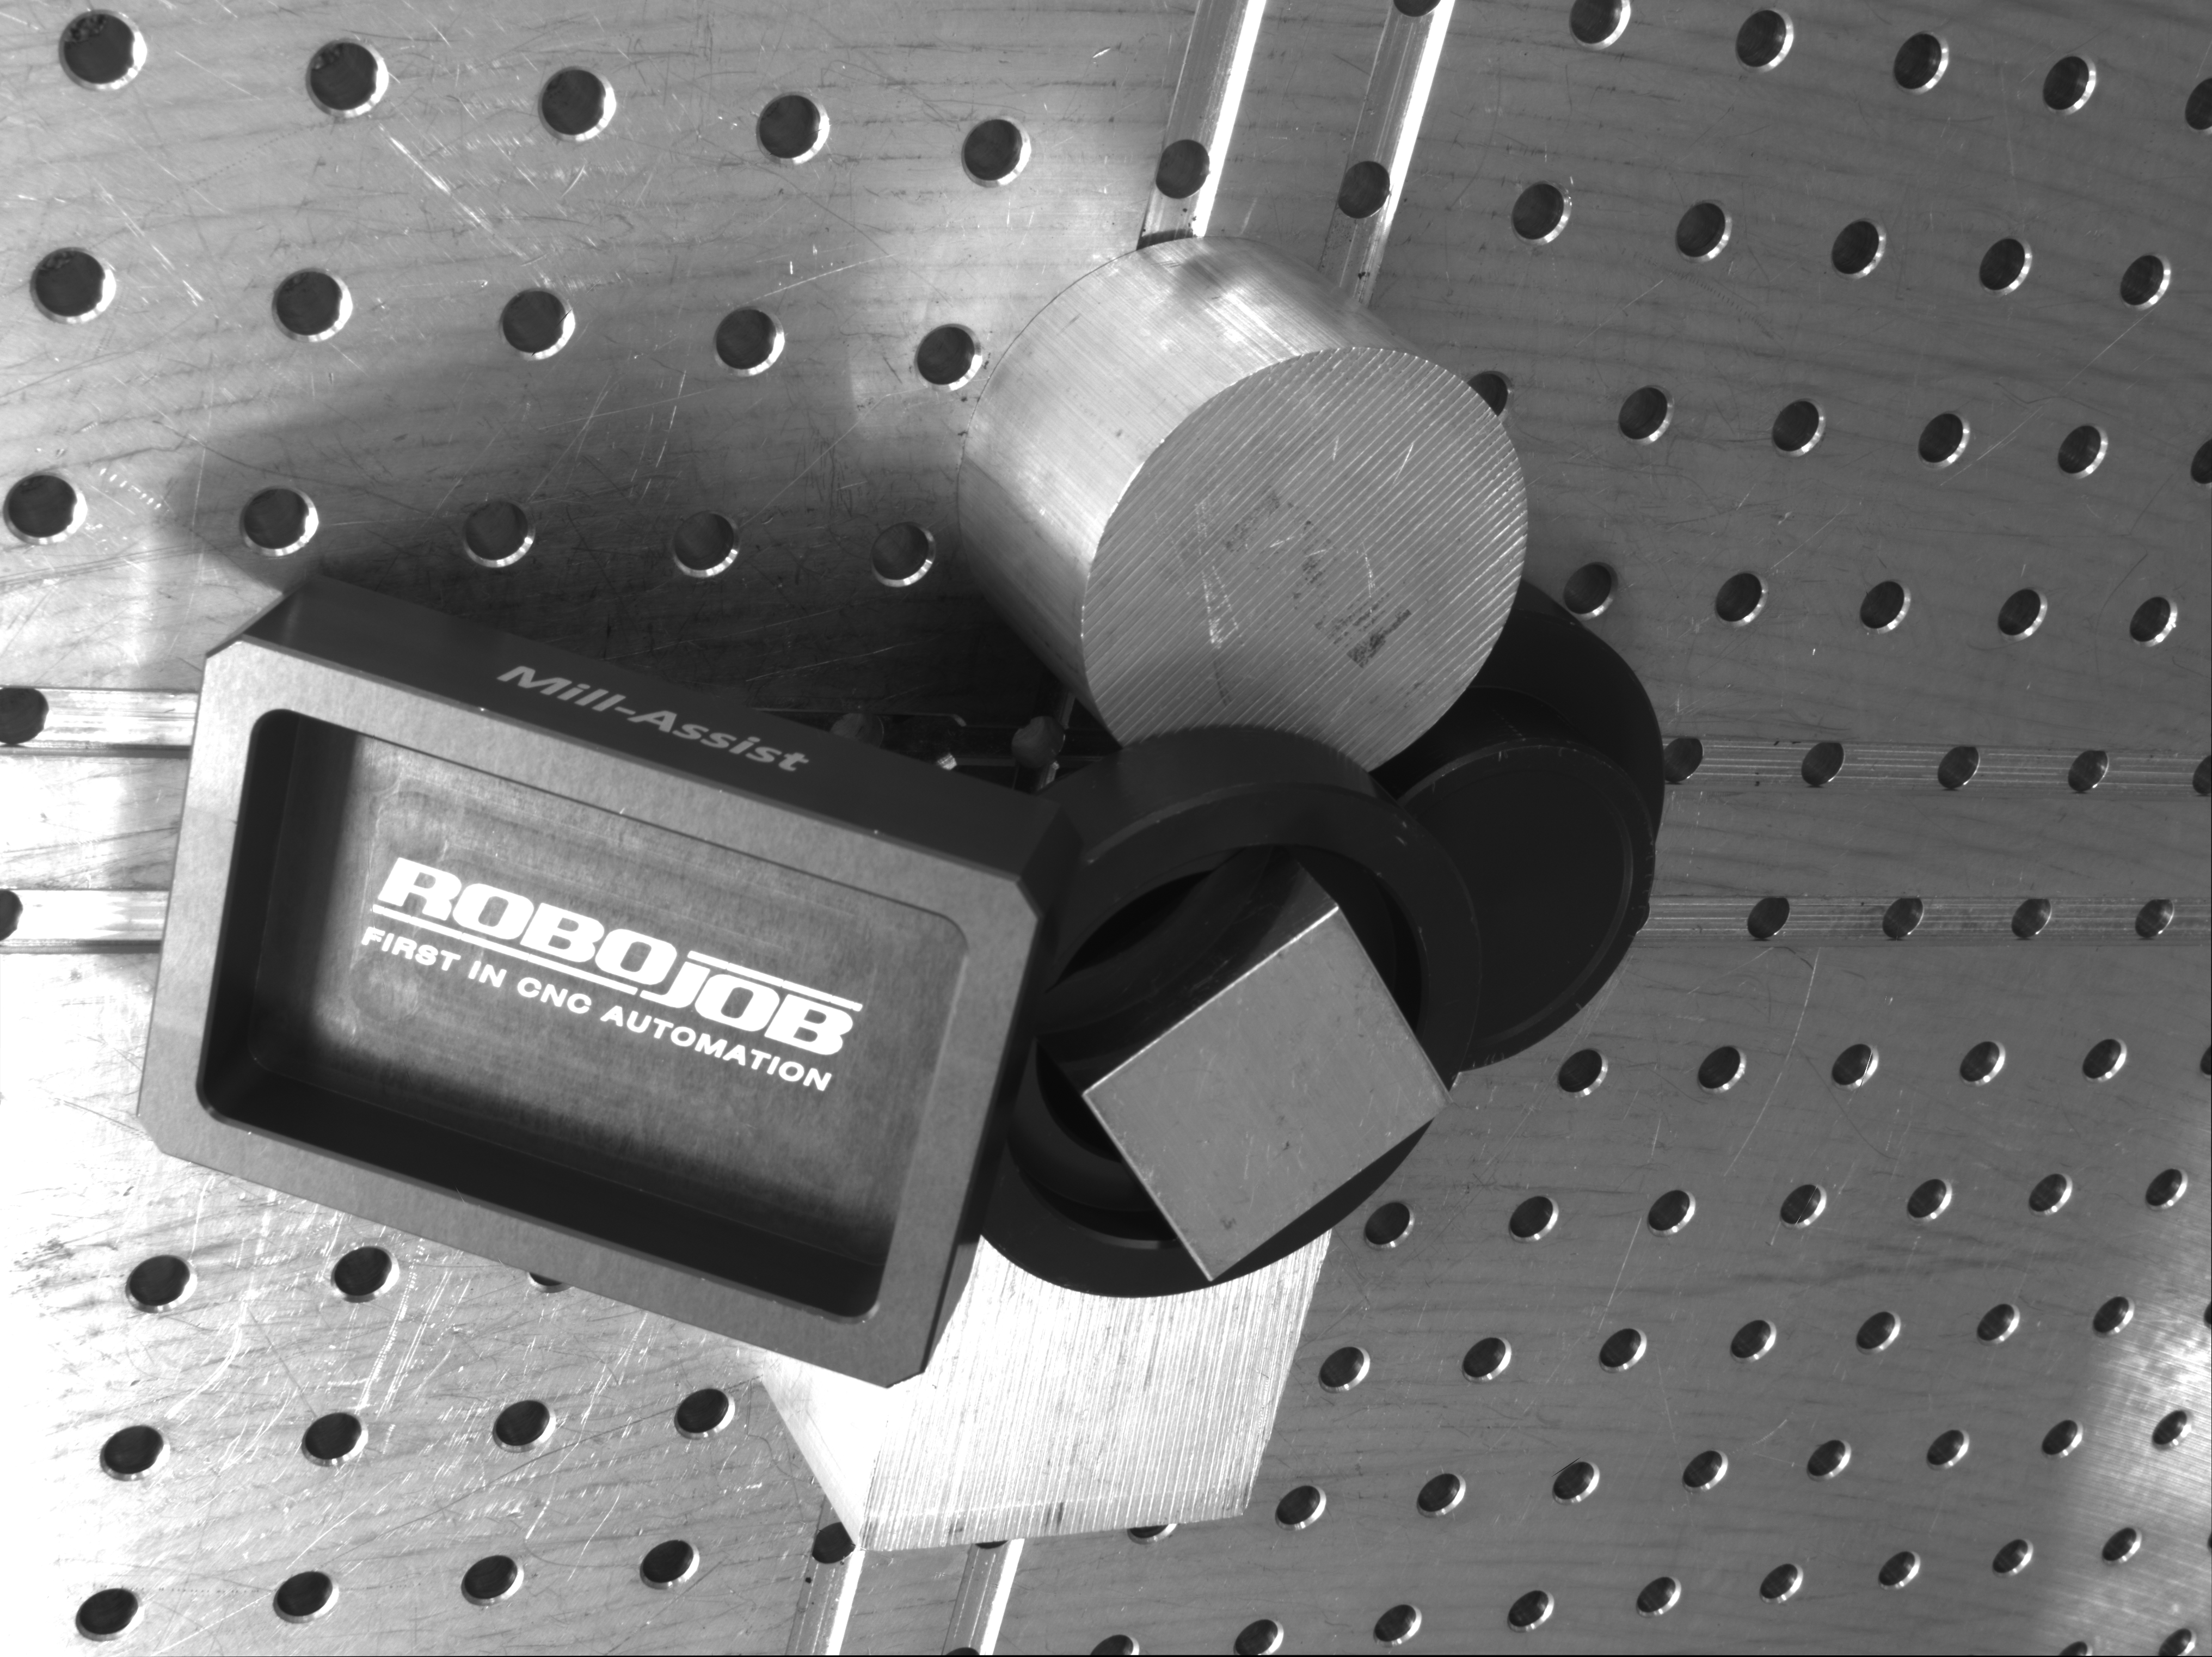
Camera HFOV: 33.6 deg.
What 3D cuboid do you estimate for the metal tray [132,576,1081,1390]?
[{"bbox_3d":[-0.078,0.024,0.563,0.130,0.030,0.090,17,114,5],"label":"metal tray"}]

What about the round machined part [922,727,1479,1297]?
[{"bbox_3d":[0.010,0.026,0.613,0.098,0.042,0.098,-14,124,-21],"label":"round machined part"}]

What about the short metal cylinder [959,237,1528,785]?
[{"bbox_3d":[0.022,-0.051,0.605,0.080,0.050,0.080,-14,124,-21],"label":"short metal cylinder"}]

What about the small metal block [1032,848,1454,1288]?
[{"bbox_3d":[0.021,0.038,0.595,0.050,0.025,0.050,-36,129,-4],"label":"small metal block"}]

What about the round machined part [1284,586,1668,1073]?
[{"bbox_3d":[0.060,0.005,0.663,0.098,0.042,0.098,-14,124,-21],"label":"round machined part"}]

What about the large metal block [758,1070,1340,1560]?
[{"bbox_3d":[-0.010,0.082,0.665,0.080,0.050,0.080,1,118,-29],"label":"large metal block"}]
